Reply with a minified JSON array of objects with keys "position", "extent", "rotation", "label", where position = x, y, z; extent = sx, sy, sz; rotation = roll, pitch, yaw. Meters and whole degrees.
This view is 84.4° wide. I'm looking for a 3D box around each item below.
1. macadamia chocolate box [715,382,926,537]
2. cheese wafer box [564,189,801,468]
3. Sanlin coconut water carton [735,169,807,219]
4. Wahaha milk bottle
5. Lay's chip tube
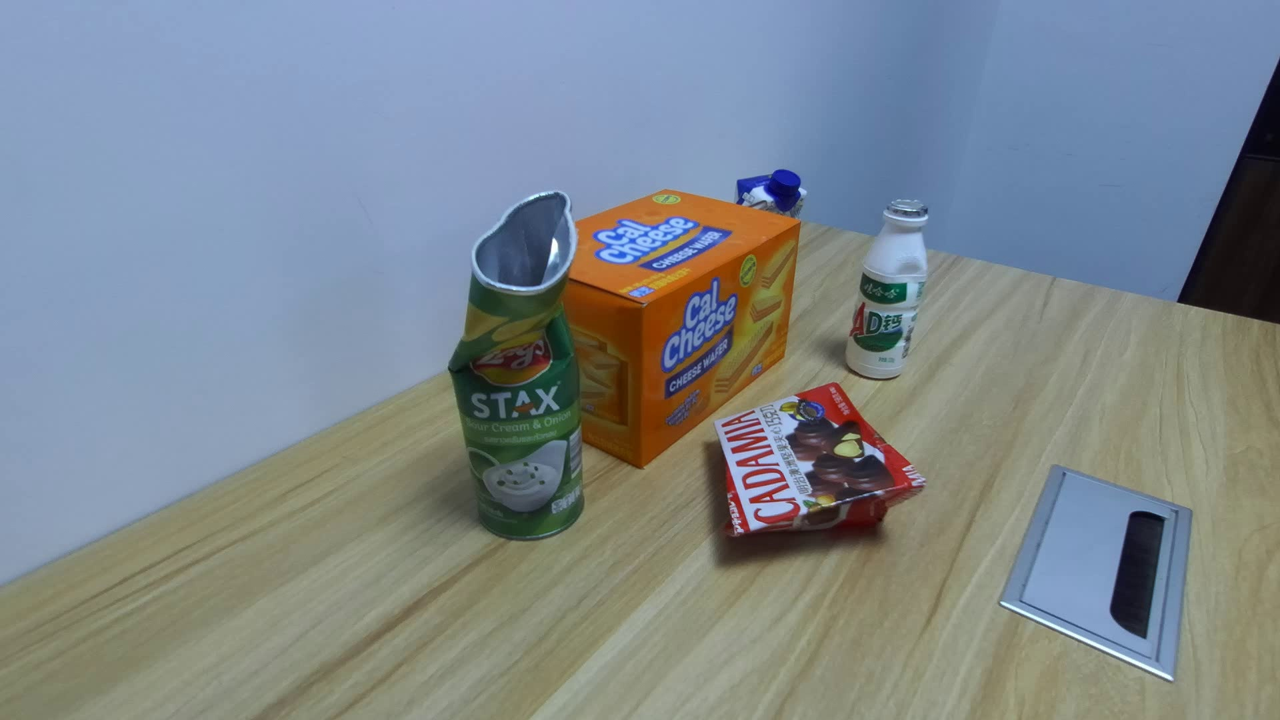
[{"position":[0.100,0.066,0.453],"extent":[0.112,0.056,0.126],"rotation":[-2,29,-8],"label":"macadamia chocolate box"},{"position":[0.012,-0.041,0.572],"extent":[0.147,0.129,0.222],"rotation":[21,35,32],"label":"cheese wafer box"},{"position":[0.126,-0.121,0.711],"extent":[0.078,0.142,0.057],"rotation":[-14,36,-28],"label":"Sanlin coconut water carton"},{"position":[0.209,-0.052,0.593],"extent":[0.053,0.137,0.053],"rotation":[2,27,-1],"label":"Wahaha milk bottle"},{"position":[-0.064,0.014,0.406],"extent":[0.079,0.199,0.070],"rotation":[-21,43,-31],"label":"Lay's chip tube"}]
